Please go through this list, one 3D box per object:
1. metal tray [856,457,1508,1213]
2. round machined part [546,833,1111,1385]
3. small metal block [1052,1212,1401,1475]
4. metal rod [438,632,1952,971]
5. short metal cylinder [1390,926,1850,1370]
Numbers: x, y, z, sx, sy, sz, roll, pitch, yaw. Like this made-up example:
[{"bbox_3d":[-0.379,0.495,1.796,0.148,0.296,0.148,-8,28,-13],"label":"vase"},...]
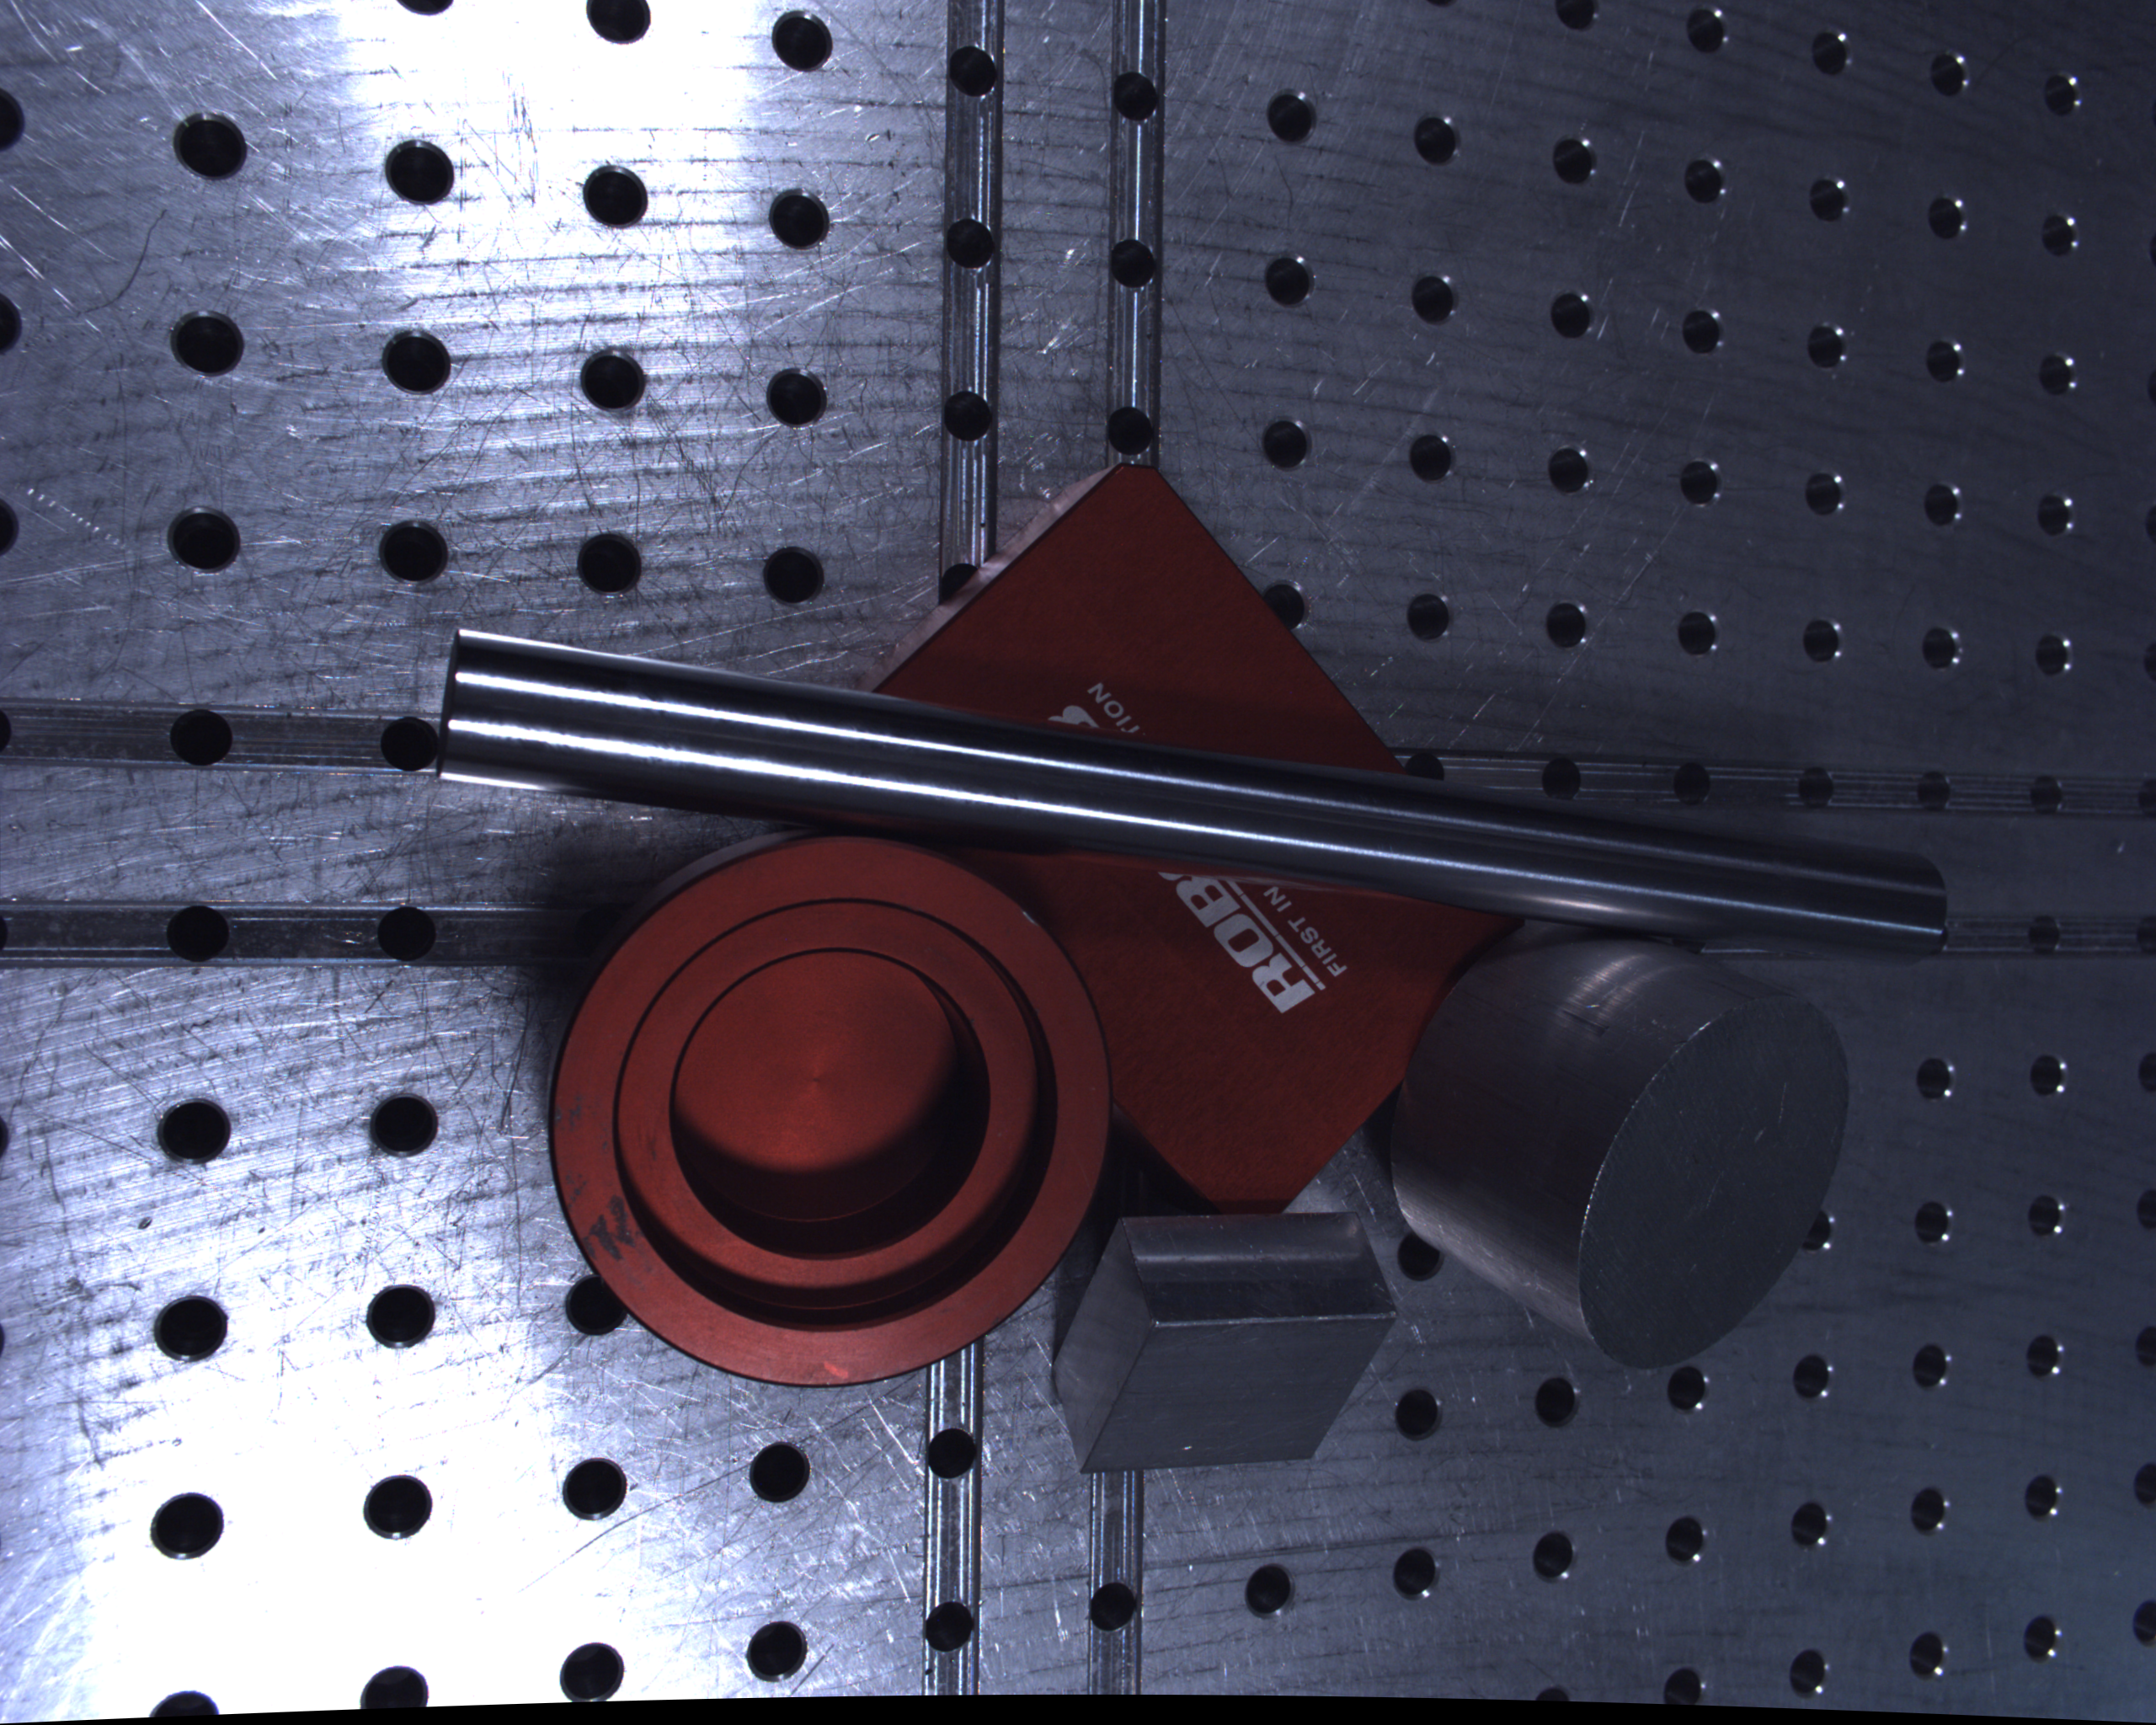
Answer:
[{"bbox_3d":[0.018,-0.004,0.419,0.090,0.030,0.130,-45,105,-15],"label":"metal tray"},{"bbox_3d":[-0.047,0.041,0.382,0.099,0.042,0.097,-2,97,-15],"label":"round machined part"},{"bbox_3d":[0.028,0.094,0.410,0.050,0.025,0.050,3,132,-21],"label":"small metal block"},{"bbox_3d":[0.037,-0.007,0.394,0.302,0.025,0.025,7,88,-20],"label":"metal rod"},{"bbox_3d":[0.111,0.055,0.426,0.081,0.050,0.079,-16,118,-32],"label":"short metal cylinder"}]
